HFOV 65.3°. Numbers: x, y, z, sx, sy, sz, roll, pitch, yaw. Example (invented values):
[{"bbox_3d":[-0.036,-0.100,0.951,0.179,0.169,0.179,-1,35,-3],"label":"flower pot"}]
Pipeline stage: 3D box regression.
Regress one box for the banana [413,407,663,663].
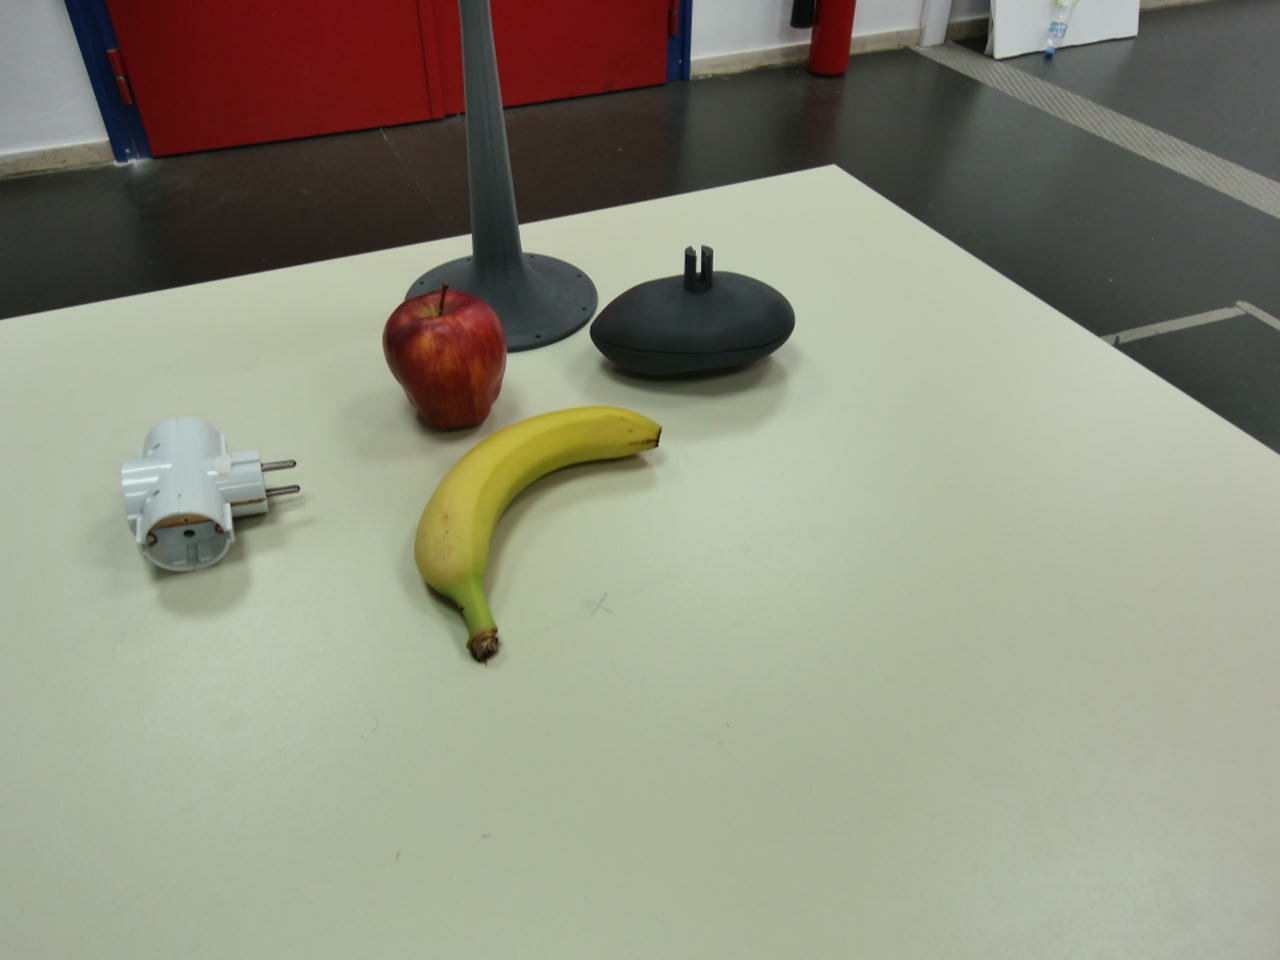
[{"bbox_3d":[-0.070,0.011,0.577,0.094,0.041,0.196,20,42,22],"label":"banana"}]
